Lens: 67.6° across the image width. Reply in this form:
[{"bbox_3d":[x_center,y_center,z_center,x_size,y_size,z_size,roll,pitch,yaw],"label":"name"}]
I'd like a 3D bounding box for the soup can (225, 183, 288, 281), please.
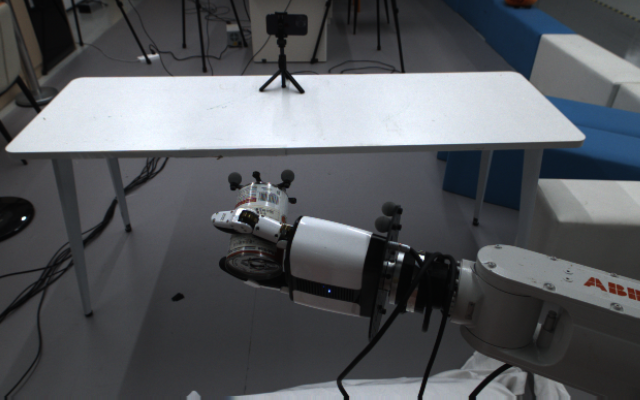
[{"bbox_3d":[-0.074,0.038,0.590,0.067,0.067,0.101,3,58,1],"label":"soup can"}]
